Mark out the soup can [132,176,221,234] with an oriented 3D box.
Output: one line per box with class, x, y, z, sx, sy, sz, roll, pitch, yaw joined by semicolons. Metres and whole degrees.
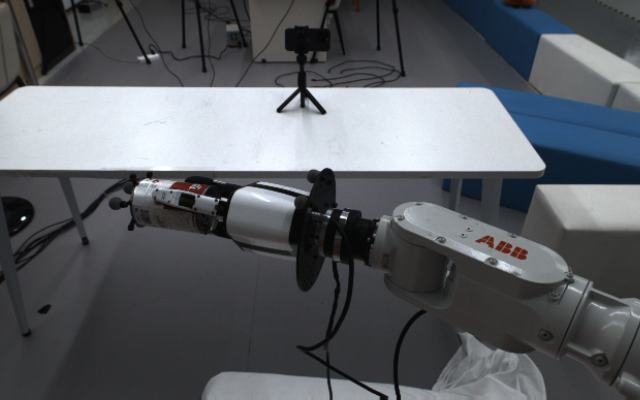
soup can;-0.193;0.009;0.659;0.101;0.067;0.067;6;35;11
